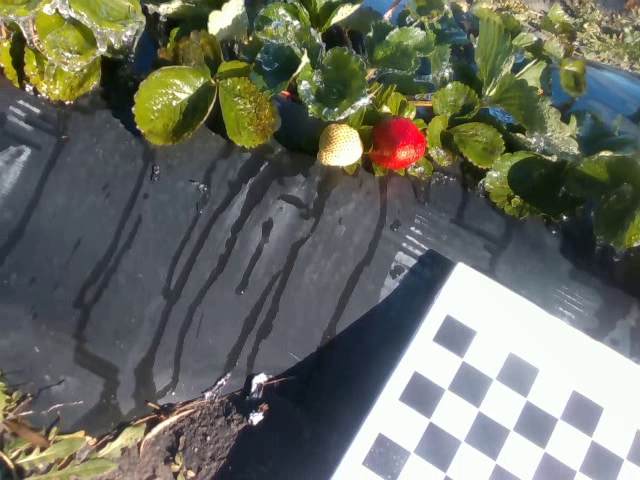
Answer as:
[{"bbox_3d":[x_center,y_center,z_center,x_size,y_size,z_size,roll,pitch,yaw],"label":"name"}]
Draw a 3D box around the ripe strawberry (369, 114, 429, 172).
[{"bbox_3d":[0.057,-0.067,0.581,0.042,0.046,0.061,18,20,3],"label":"ripe strawberry"}]
